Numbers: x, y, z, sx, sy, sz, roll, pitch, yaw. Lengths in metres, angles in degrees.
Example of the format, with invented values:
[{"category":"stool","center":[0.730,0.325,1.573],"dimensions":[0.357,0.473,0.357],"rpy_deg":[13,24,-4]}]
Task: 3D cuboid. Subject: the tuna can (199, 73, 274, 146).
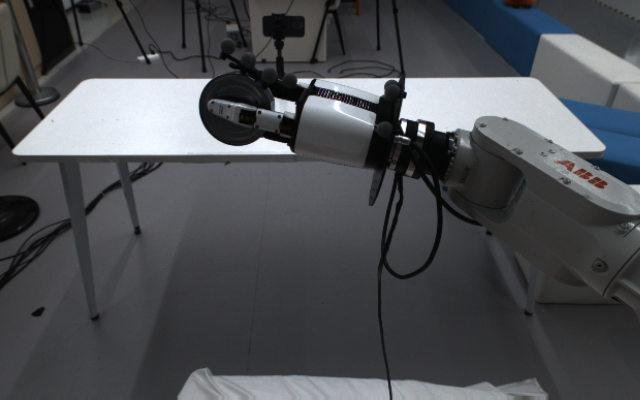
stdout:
[{"category":"tuna can","center":[-0.097,-0.110,0.581],"dimensions":[0.085,0.085,0.034],"rpy_deg":[4,20,3]}]
